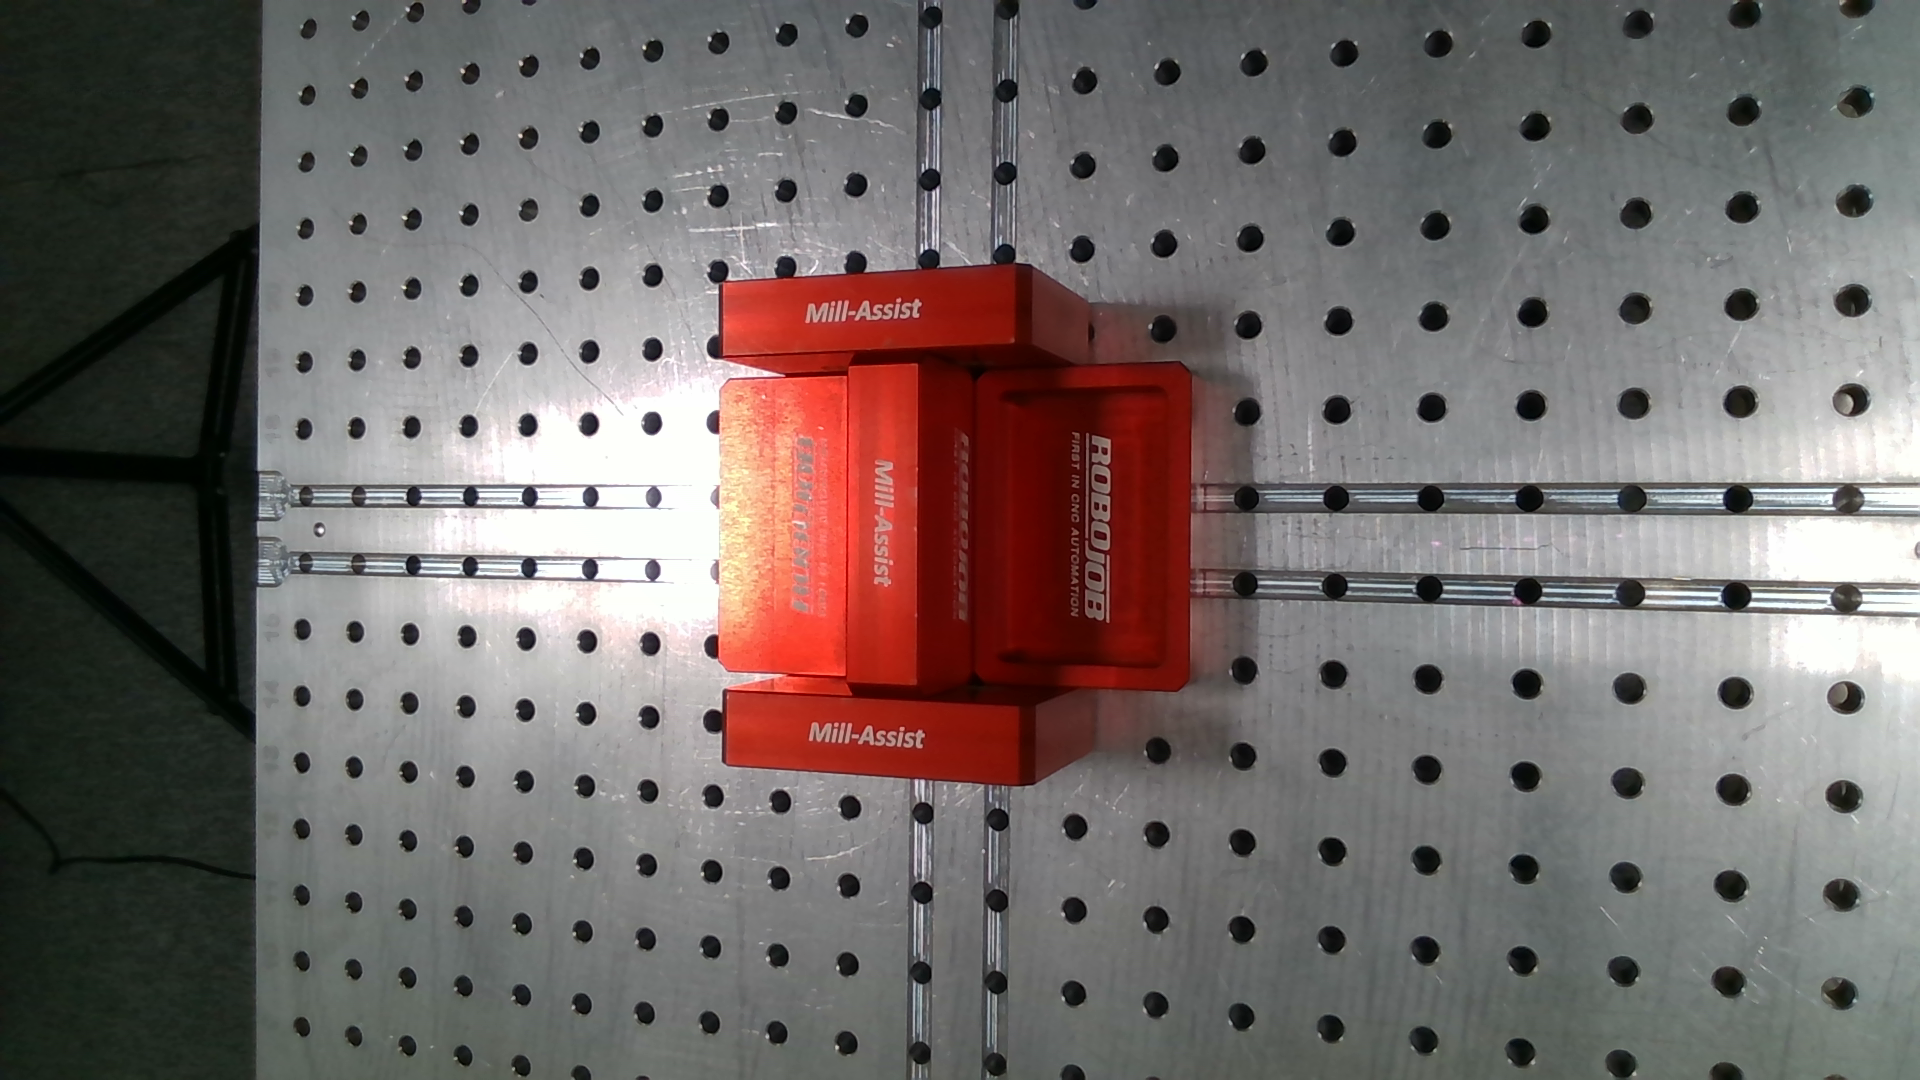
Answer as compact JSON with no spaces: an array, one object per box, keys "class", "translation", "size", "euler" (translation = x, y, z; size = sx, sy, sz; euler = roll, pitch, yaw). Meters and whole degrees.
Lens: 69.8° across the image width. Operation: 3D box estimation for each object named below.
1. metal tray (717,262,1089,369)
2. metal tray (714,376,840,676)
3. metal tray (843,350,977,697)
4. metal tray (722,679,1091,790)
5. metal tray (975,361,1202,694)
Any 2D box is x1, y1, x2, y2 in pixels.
[{"class":"metal tray","translation":[-0.021,-0.086,0.560],"size":[0.130,0.090,0.030],"euler":[1,90,20]},{"class":"metal tray","translation":[-0.062,-0.006,0.607],"size":[0.090,0.030,0.130],"euler":[1,91,20]},{"class":"metal tray","translation":[-0.014,-0.006,0.557],"size":[0.030,0.090,0.130],"euler":[1,91,20]},{"class":"metal tray","translation":[-0.020,0.075,0.561],"size":[0.130,0.090,0.030],"euler":[1,90,20]},{"class":"metal tray","translation":[0.053,-0.005,0.566],"size":[0.090,0.030,0.130],"euler":[1,91,20]}]
